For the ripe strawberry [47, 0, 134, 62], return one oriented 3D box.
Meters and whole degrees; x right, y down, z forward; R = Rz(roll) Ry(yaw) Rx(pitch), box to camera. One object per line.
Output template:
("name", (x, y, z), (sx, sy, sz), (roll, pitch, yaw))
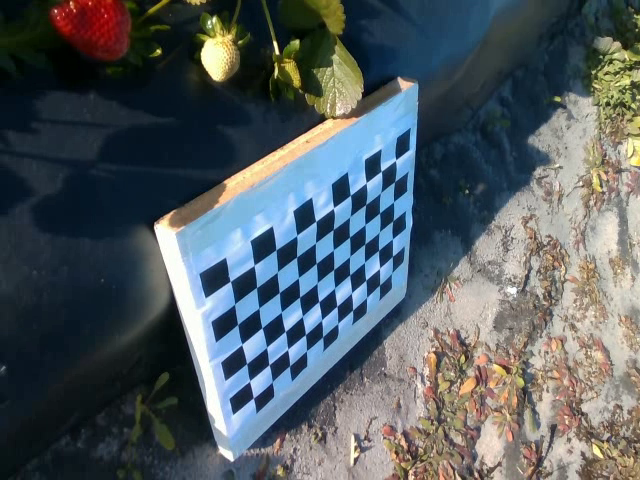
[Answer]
("ripe strawberry", (-0.115, -0.111, 0.294), (0.036, 0.044, 0.053), (24, 19, 25))
